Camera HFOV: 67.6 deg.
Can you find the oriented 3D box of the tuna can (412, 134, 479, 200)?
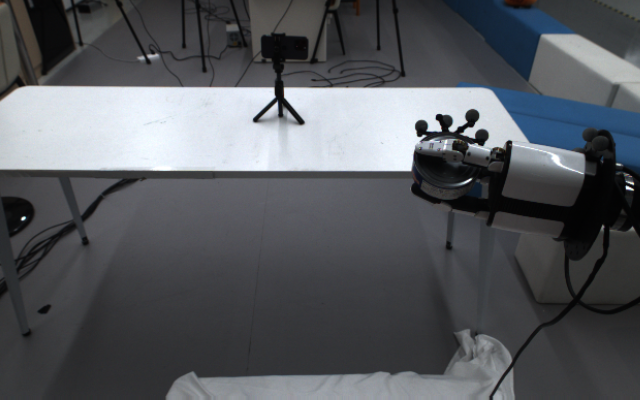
[{"bbox_3d":[0.161,-0.050,0.619,0.085,0.034,0.085,-2,56,3],"label":"tuna can"}]
